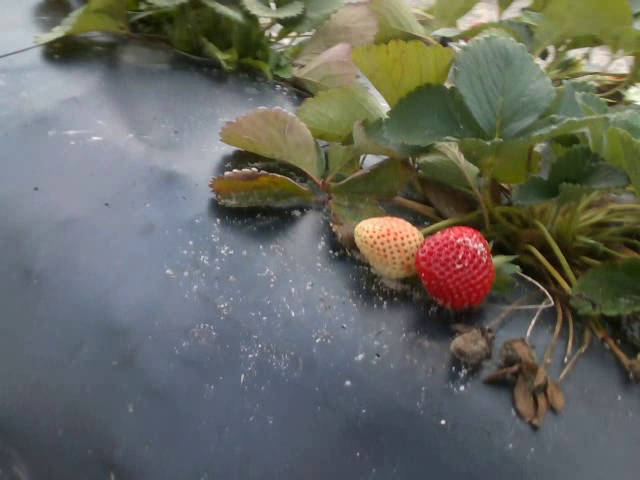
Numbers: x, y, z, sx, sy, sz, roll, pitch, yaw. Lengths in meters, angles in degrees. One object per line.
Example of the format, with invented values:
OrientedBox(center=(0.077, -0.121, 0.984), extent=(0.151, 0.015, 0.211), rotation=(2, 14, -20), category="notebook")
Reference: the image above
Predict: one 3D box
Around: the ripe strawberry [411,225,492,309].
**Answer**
OrientedBox(center=(0.050, 0.008, 0.236), extent=(0.033, 0.034, 0.041), rotation=(-41, -40, 26), category="ripe strawberry")
